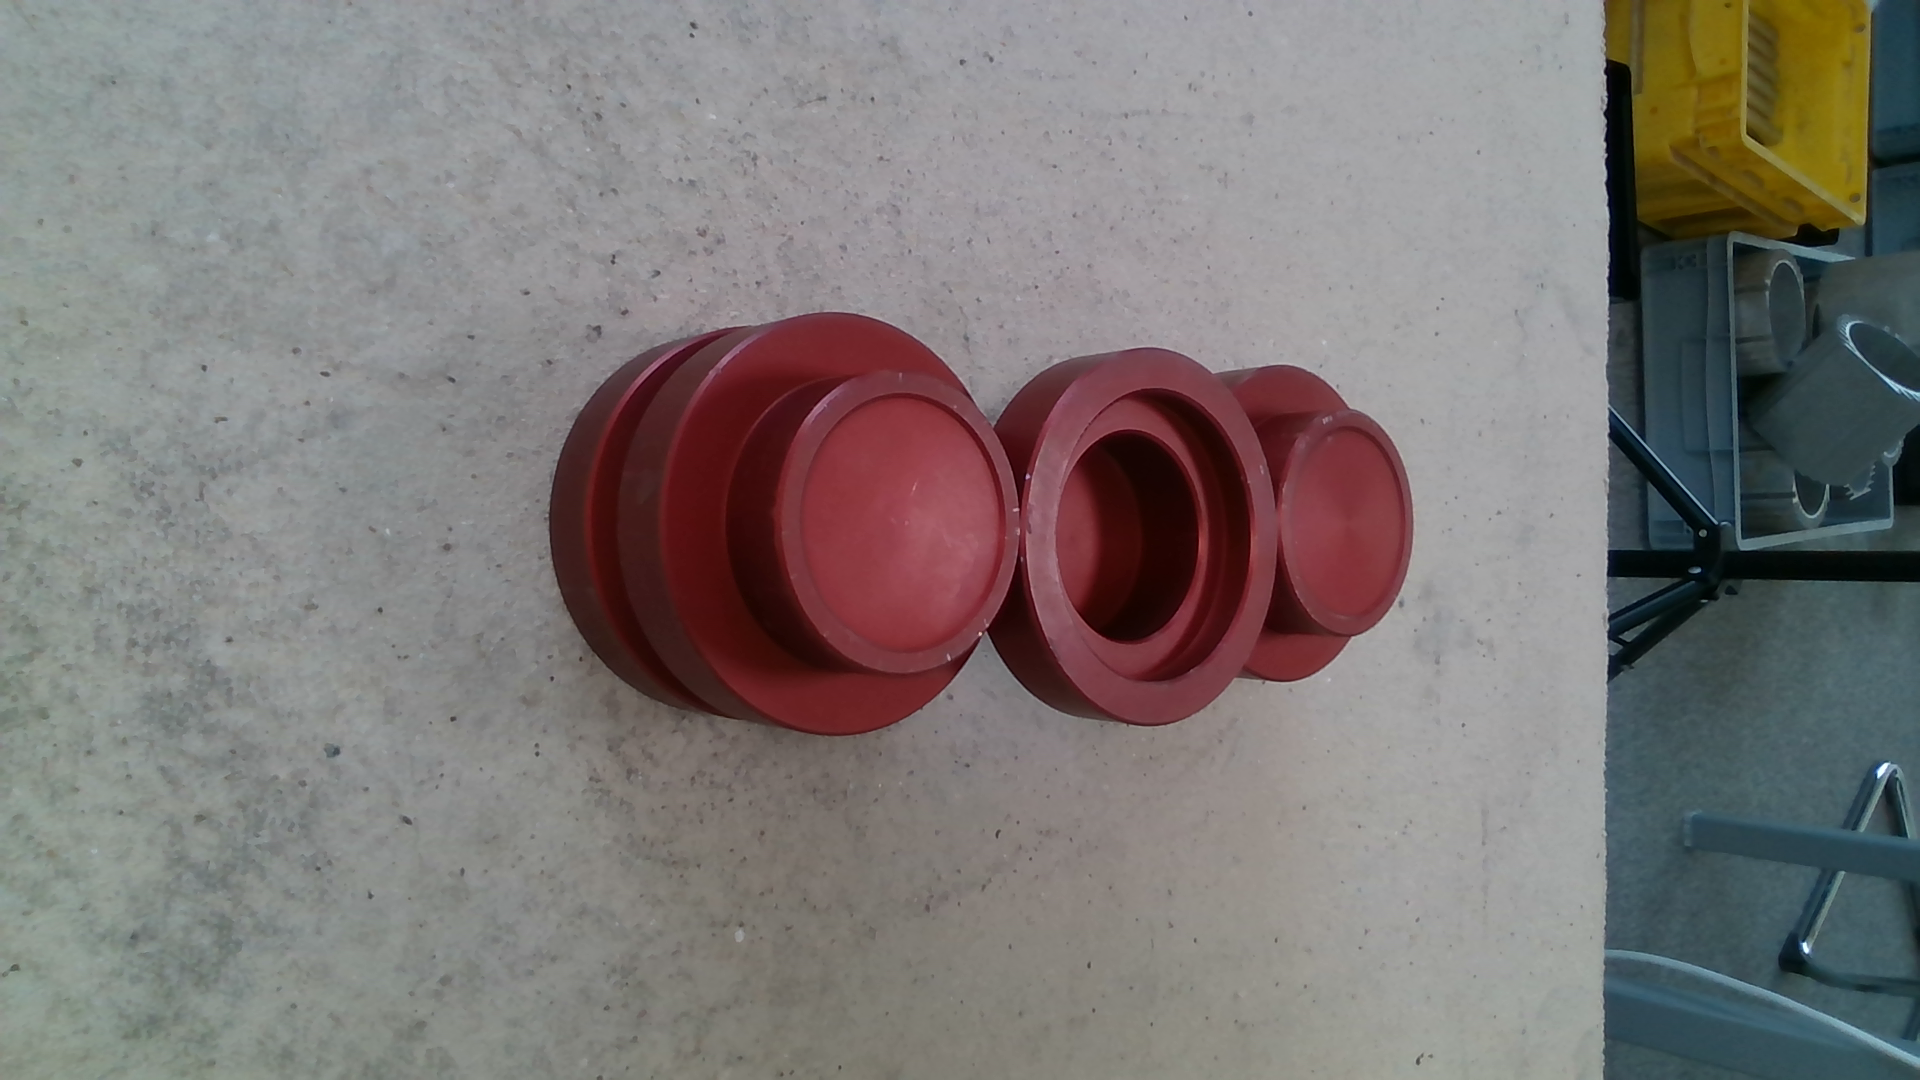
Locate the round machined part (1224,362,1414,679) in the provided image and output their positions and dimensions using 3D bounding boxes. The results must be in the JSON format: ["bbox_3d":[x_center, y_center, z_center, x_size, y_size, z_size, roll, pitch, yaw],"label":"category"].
[{"bbox_3d":[0.103,-0.006,0.425,0.098,0.042,0.098,1,88,-40],"label":"round machined part"}]

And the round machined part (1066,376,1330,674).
[{"bbox_3d":[0.084,-0.005,0.451,0.098,0.042,0.098,2,87,-40],"label":"round machined part"}]

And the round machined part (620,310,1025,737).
[{"bbox_3d":[-0.024,-0.004,0.316,0.098,0.042,0.098,1,88,-40],"label":"round machined part"}]

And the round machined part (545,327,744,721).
[{"bbox_3d":[-0.048,-0.004,0.342,0.098,0.042,0.098,1,88,-41],"label":"round machined part"}]

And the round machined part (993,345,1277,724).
[{"bbox_3d":[0.039,-0.001,0.372,0.098,0.042,0.098,0,90,-40],"label":"round machined part"}]
